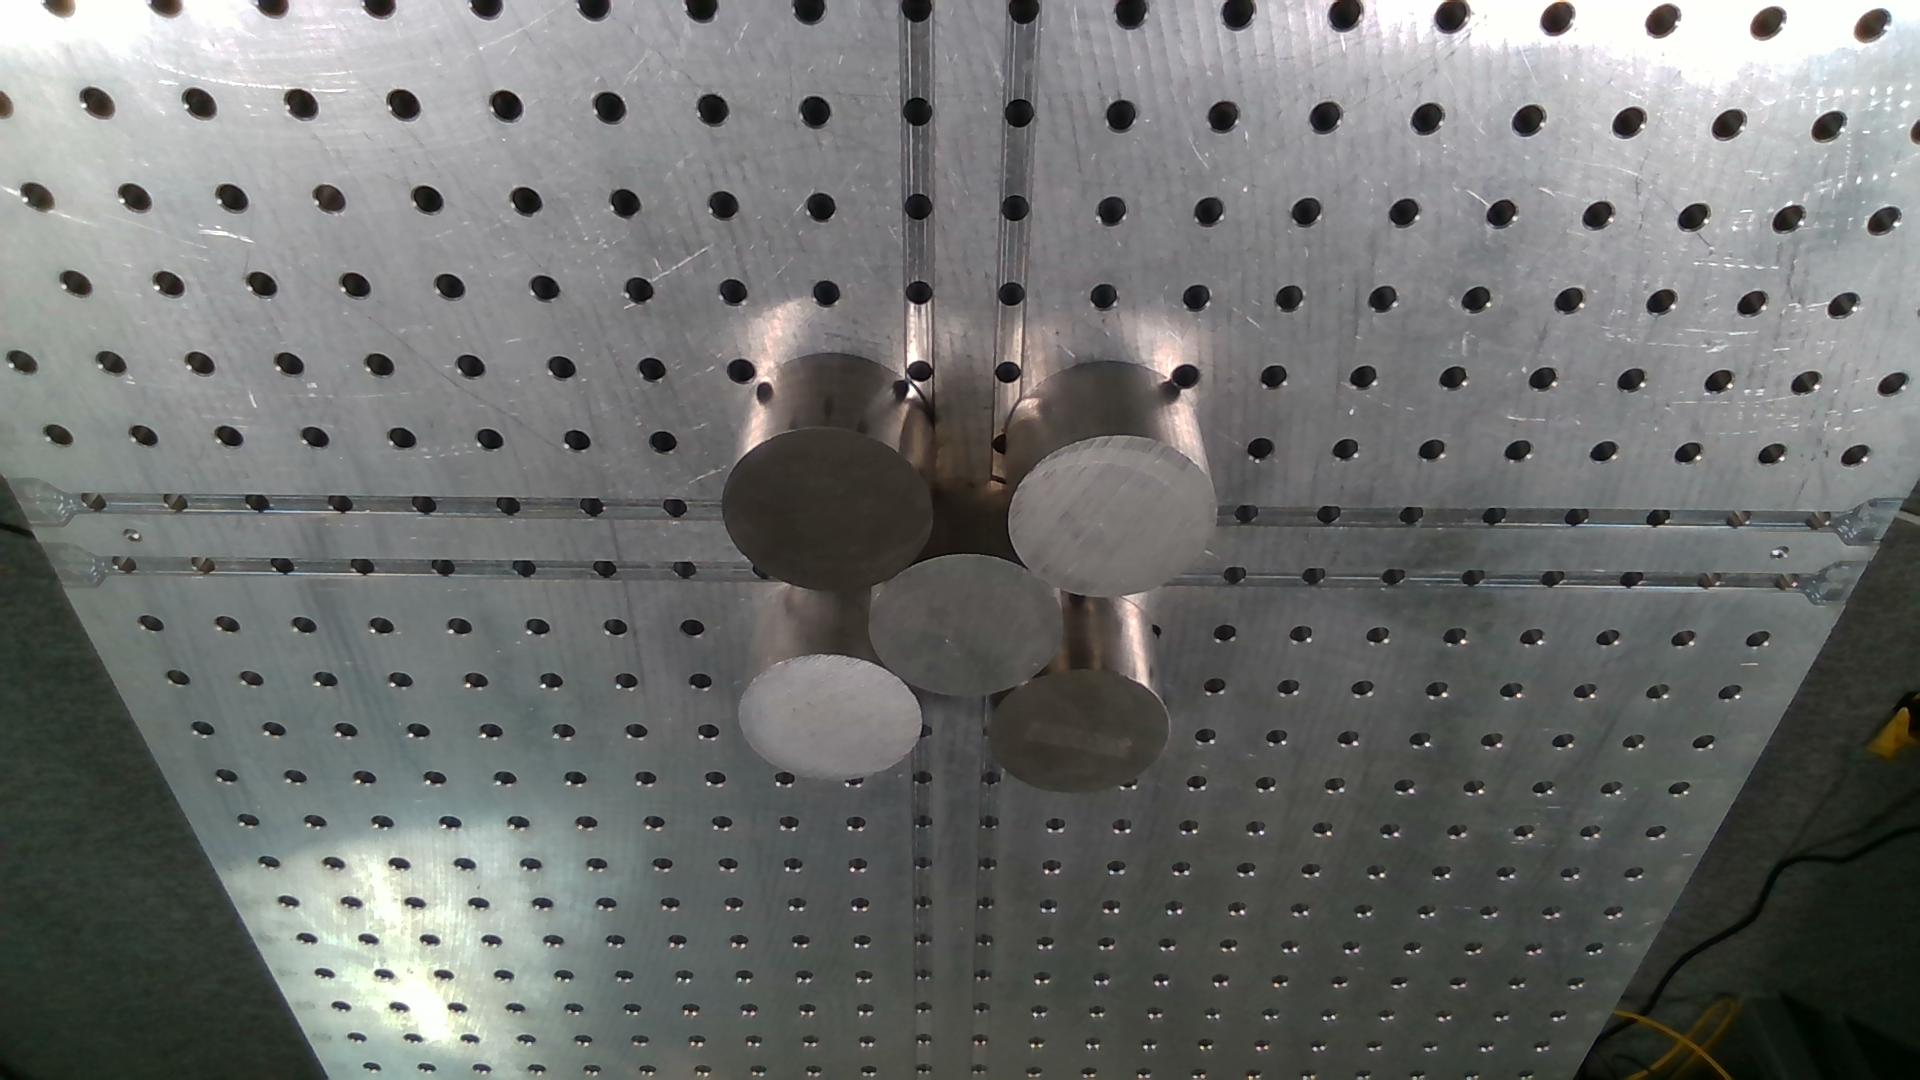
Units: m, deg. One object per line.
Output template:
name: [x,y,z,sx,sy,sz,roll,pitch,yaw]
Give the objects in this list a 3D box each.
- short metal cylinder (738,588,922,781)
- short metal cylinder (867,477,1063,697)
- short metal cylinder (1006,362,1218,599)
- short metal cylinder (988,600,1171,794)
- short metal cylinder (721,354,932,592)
short metal cylinder: [-0.056,0.063,0.618,0.080,0.050,0.080,0,130,0]
short metal cylinder: [0.002,0.020,0.582,0.080,0.050,0.080,0,130,0]
short metal cylinder: [0.058,-0.023,0.546,0.080,0.050,0.080,0,130,0]
short metal cylinder: [0.052,0.069,0.621,0.080,0.050,0.080,0,130,0]
short metal cylinder: [-0.051,-0.026,0.543,0.080,0.050,0.080,0,130,0]
